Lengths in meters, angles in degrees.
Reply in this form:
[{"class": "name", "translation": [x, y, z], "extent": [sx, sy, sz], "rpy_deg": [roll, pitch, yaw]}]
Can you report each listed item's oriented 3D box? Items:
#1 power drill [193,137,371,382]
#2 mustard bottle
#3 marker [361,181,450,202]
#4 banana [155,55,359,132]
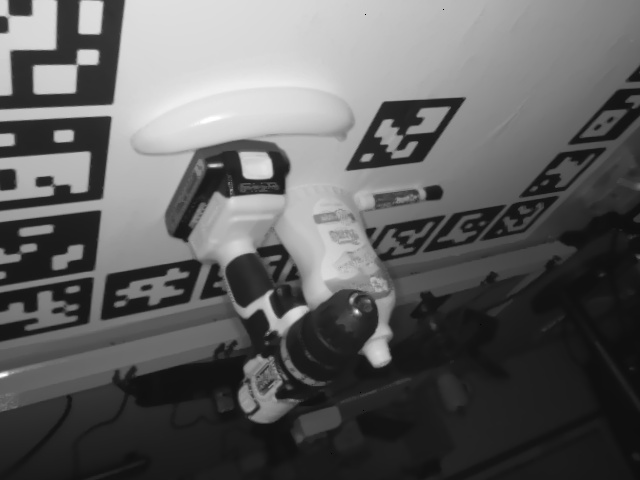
[{"class": "power drill", "translation": [-0.040, 0.006, 0.597], "extent": [0.058, 0.187, 0.181], "rpy_deg": [4, 142, -38]}, {"class": "mustard bottle", "translation": [0.027, 0.019, 0.703], "extent": [0.098, 0.191, 0.057], "rpy_deg": [1, 141, -36]}, {"class": "marker", "translation": [0.104, -0.058, 0.815], "extent": [0.123, 0.019, 0.019], "rpy_deg": [-6, 144, -30]}, {"class": "banana", "translation": [-0.039, -0.123, 0.587], "extent": [0.200, 0.039, 0.073], "rpy_deg": [-4, 142, -36]}]
